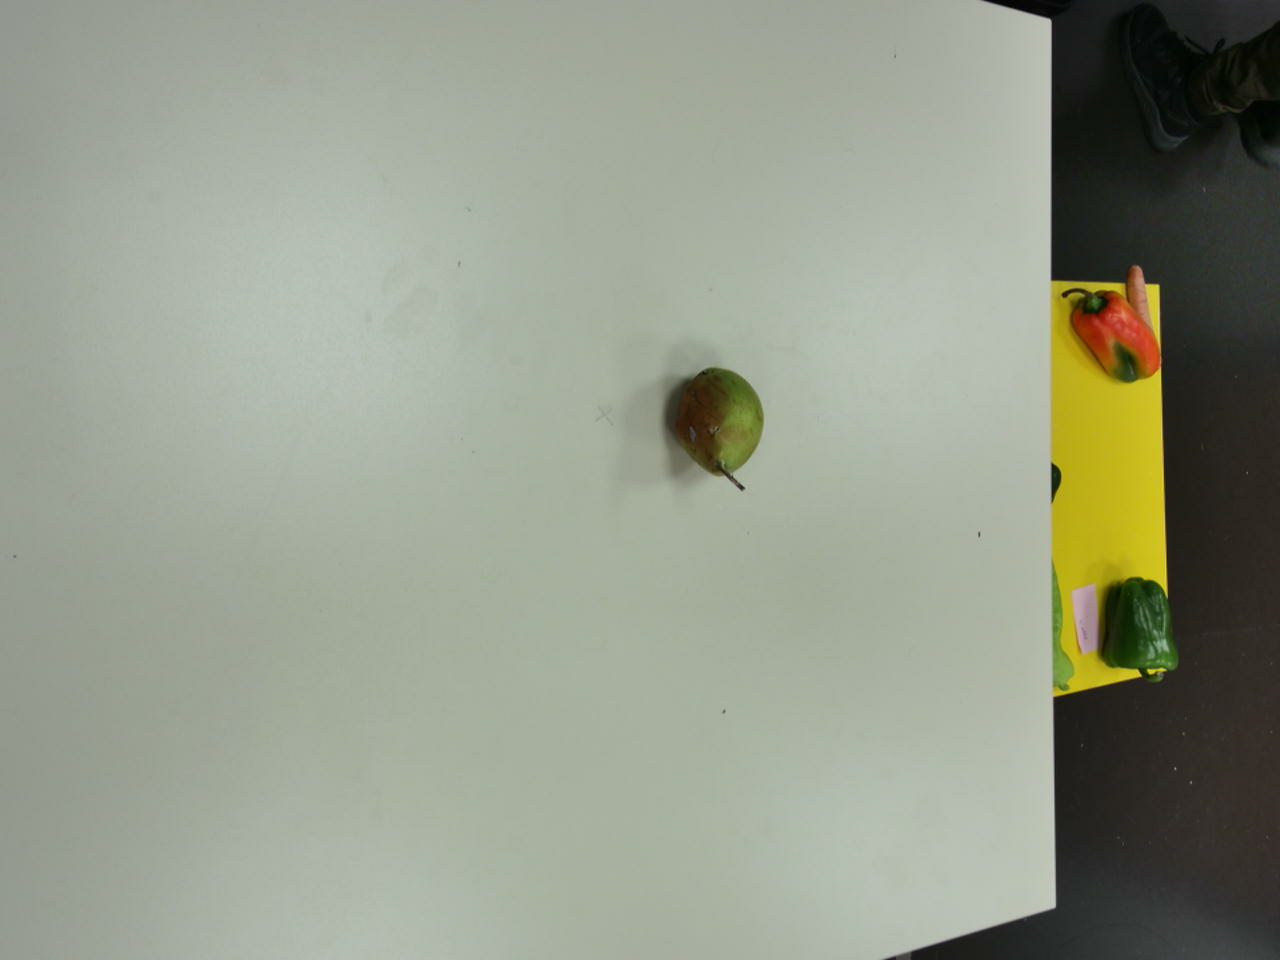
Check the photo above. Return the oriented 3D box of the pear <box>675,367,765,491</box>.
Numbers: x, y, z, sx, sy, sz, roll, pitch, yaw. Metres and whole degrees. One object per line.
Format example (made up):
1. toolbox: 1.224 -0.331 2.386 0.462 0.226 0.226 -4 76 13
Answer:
1. pear: 0.056 -0.041 0.699 0.070 0.069 0.068 -44 109 -21
